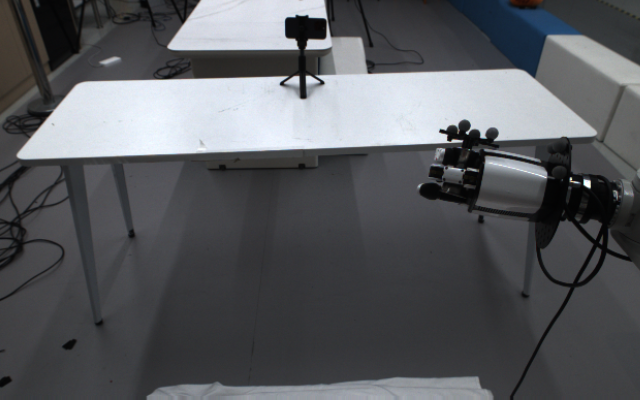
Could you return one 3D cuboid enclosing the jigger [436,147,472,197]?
[{"bbox_3d":[0.205,-0.042,0.708,0.043,0.071,0.043,17,2,-1],"label":"jigger"}]
